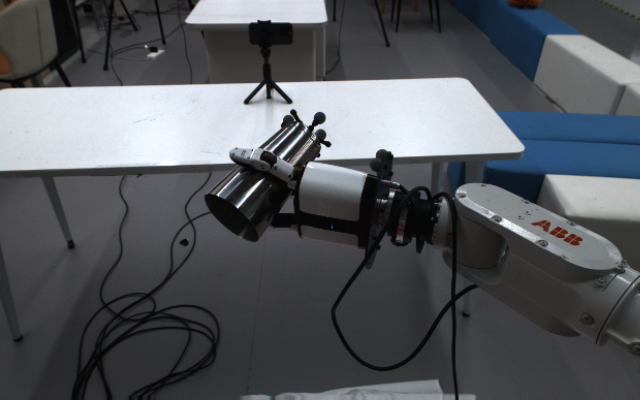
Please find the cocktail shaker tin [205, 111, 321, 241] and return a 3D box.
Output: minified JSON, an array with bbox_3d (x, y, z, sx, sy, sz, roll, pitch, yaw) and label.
[{"bbox_3d":[-0.075,-0.037,0.685,0.093,0.093,0.170,23,57,27],"label":"cocktail shaker tin"}]
